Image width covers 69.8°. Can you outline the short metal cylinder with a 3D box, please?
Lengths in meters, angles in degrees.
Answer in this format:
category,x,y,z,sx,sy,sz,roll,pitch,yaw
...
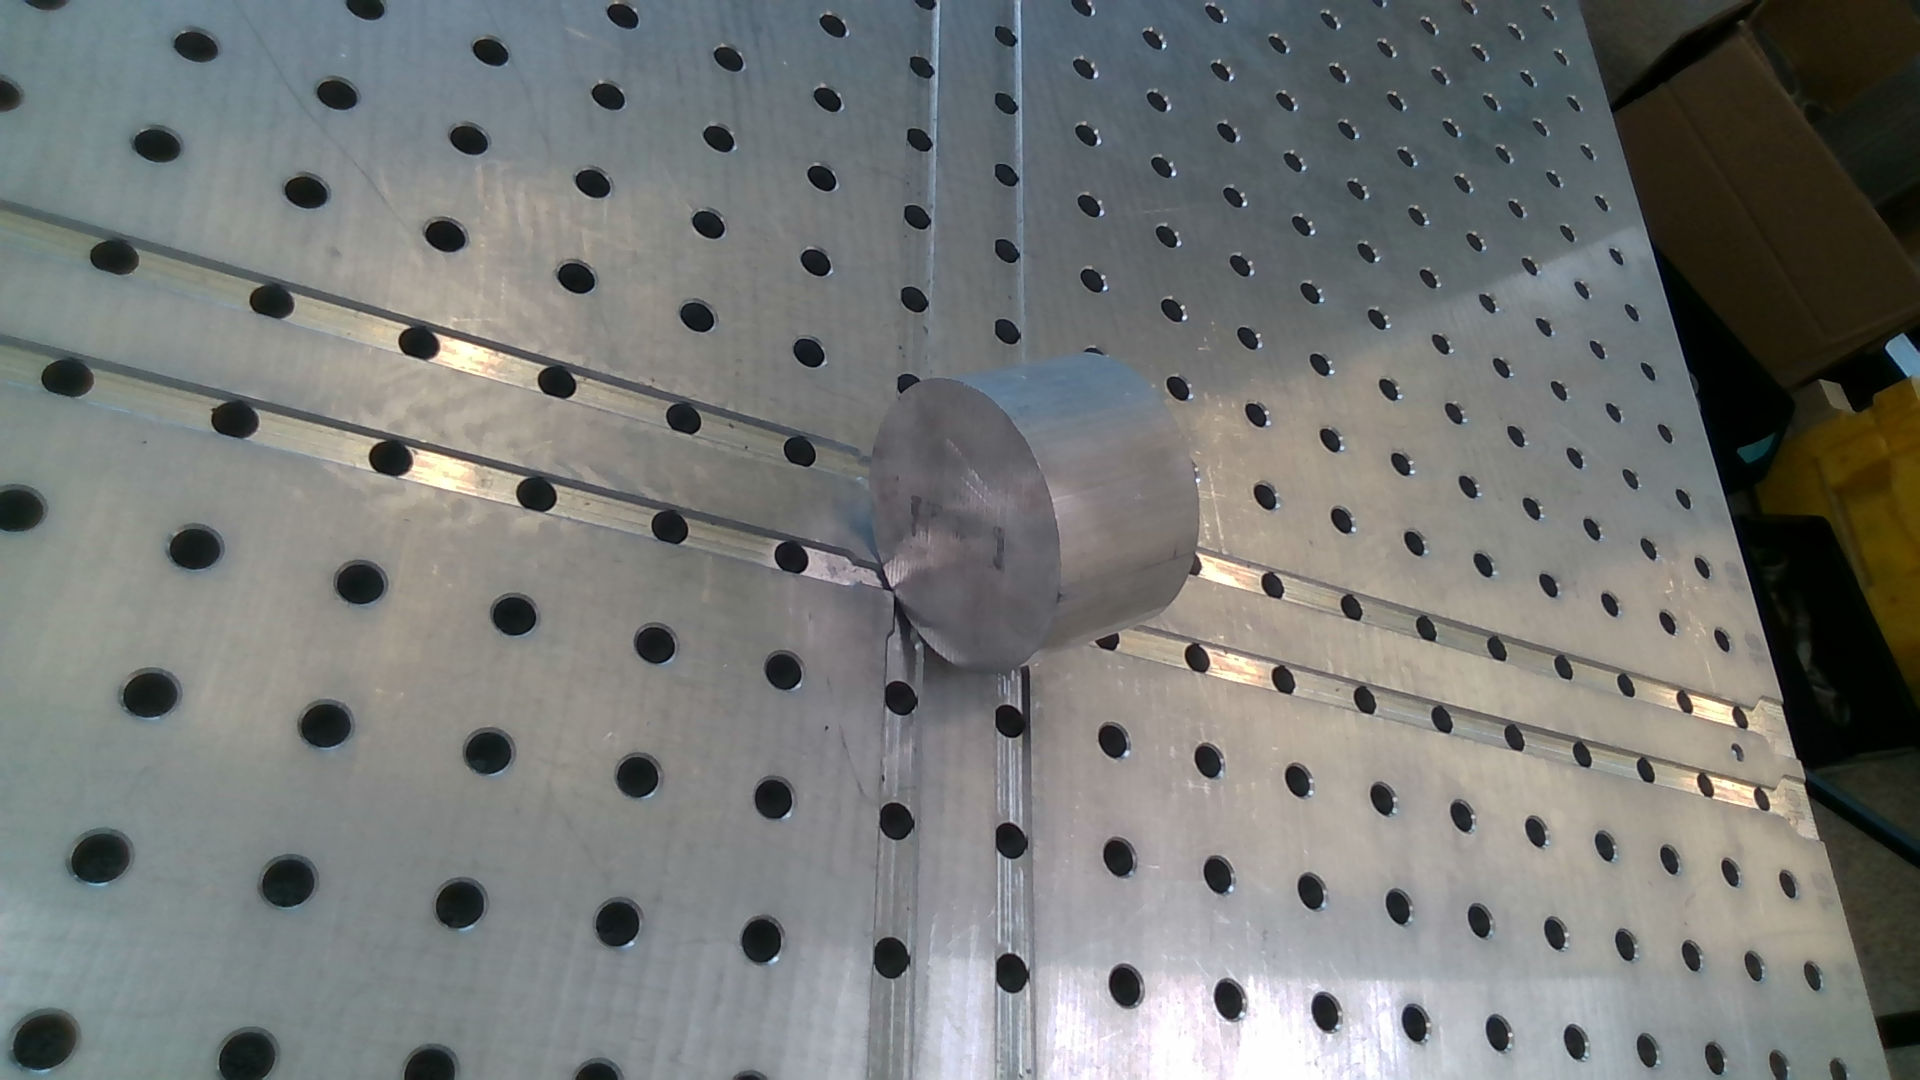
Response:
category,x,y,z,sx,sy,sz,roll,pitch,yaw
short metal cylinder,0.019,-0.009,0.376,0.050,0.080,0.080,-16,74,-37
